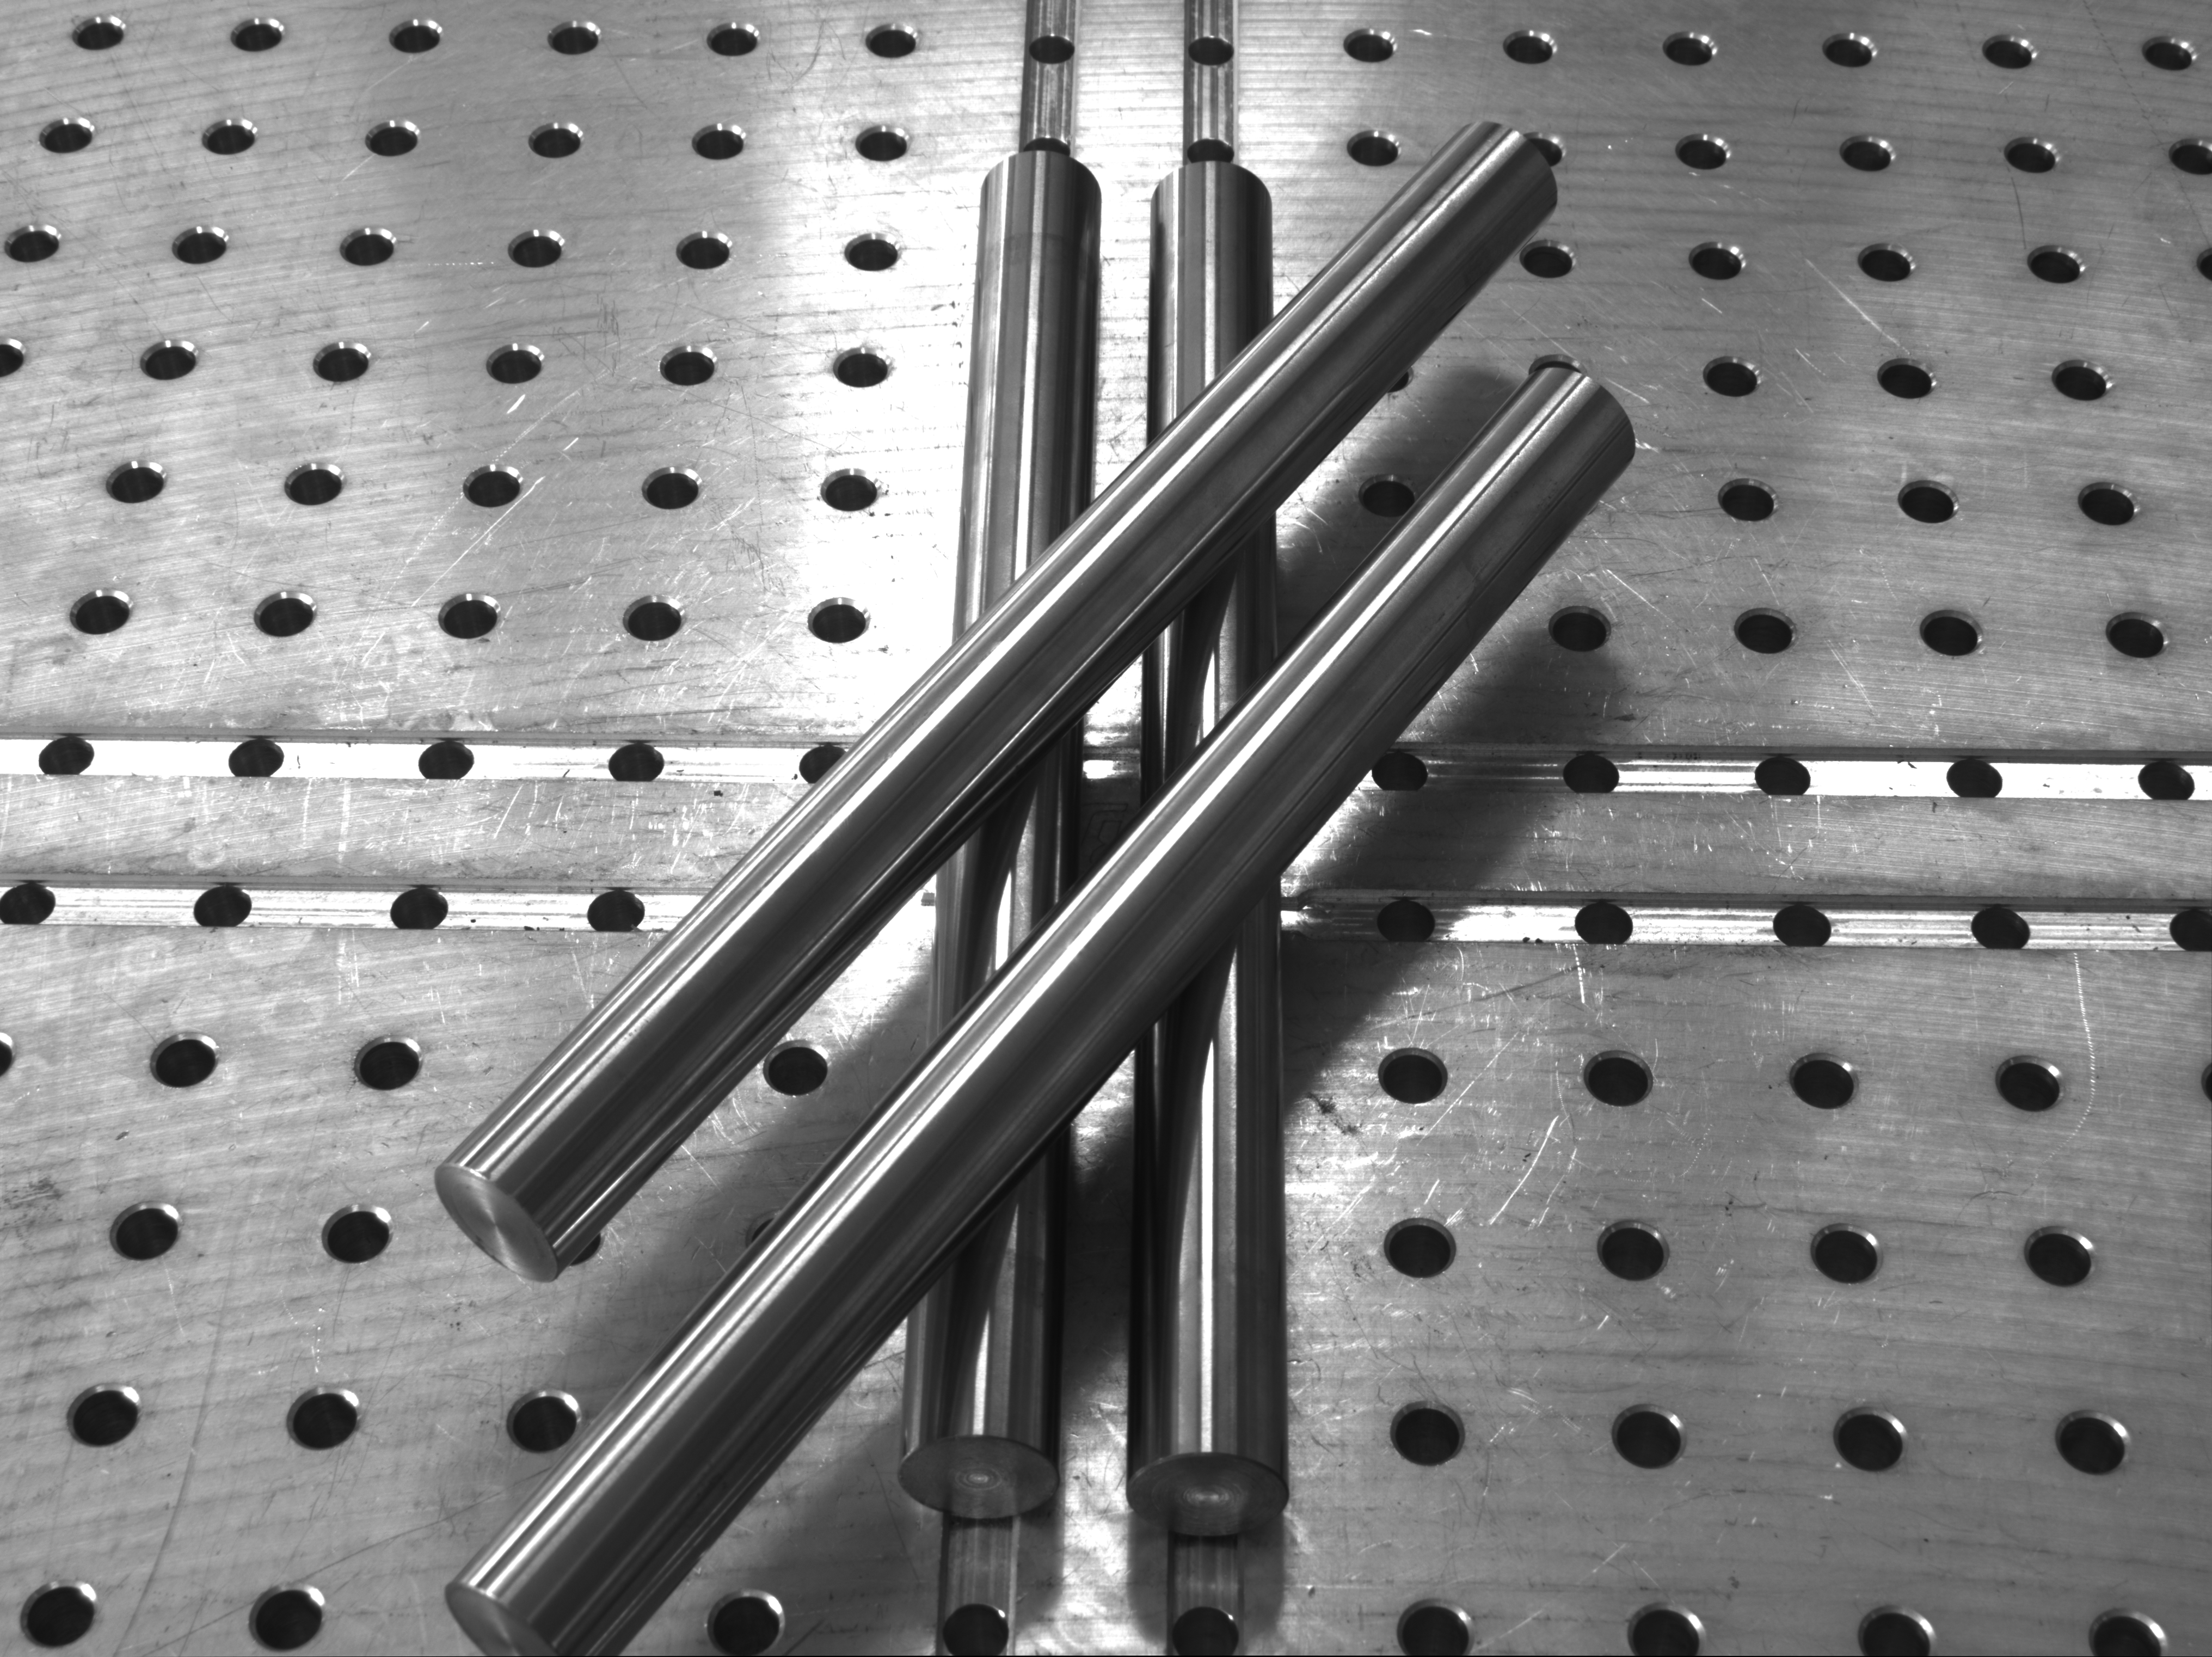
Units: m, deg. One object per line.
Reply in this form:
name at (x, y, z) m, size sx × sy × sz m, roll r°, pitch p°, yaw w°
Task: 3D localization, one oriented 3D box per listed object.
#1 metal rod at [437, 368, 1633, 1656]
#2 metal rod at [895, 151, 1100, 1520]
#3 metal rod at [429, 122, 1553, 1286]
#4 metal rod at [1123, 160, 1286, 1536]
metal rod at (0.001, 0.020, 0.596) m, size 0.025 × 0.025 × 0.300 m, roll 28°, pitch 55°, yaw 22°
metal rod at (-0.017, -0.015, 0.659) m, size 0.025 × 0.025 × 0.300 m, roll 1°, pitch 50°, yaw 1°
metal rod at (-0.009, -0.034, 0.642) m, size 0.025 × 0.025 × 0.300 m, roll 28°, pitch 55°, yaw 22°
metal rod at (0.018, -0.013, 0.657) m, size 0.025 × 0.025 × 0.300 m, roll 1°, pitch 50°, yaw 1°
